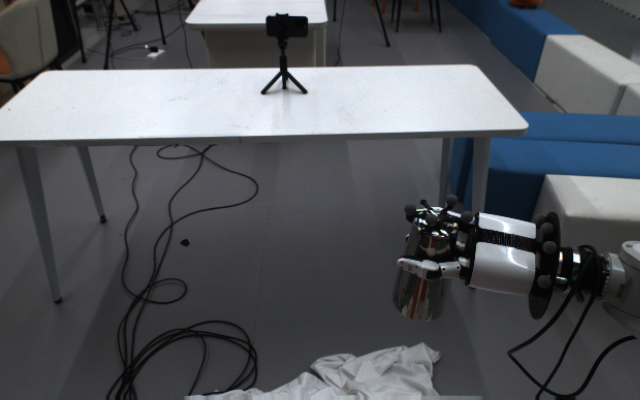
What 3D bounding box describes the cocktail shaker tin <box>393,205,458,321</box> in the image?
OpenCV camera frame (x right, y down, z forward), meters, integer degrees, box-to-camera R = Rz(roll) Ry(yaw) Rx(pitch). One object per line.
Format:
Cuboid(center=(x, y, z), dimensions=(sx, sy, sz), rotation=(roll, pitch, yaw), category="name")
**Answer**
Cuboid(center=(0.172, 0.096, 0.762), dimensions=(0.093, 0.170, 0.093), rotation=(1, 39, -1), category="cocktail shaker tin")
